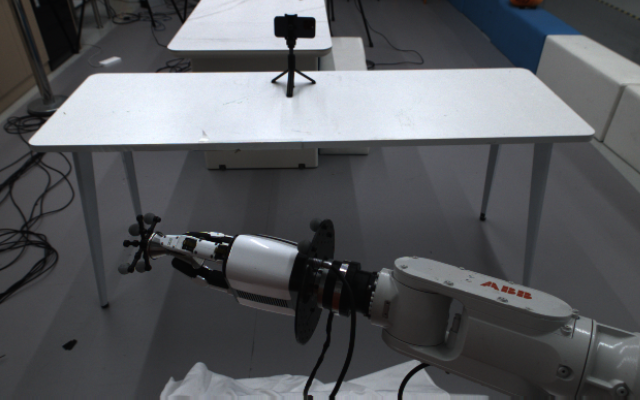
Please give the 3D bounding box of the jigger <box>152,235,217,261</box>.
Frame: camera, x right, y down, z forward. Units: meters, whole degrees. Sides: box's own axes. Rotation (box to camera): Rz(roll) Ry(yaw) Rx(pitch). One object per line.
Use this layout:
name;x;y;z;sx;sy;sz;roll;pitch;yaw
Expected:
jigger;-0.188;0.064;0.657;0.071;0.043;0.043;7;35;13
